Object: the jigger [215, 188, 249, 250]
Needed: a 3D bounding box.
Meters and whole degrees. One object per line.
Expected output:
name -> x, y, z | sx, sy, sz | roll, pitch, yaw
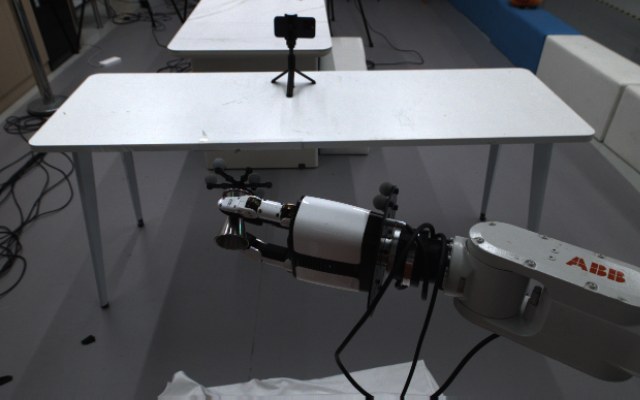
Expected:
jigger -> -0.109, 0.022, 0.619 | 0.043, 0.043, 0.071 | 2, 59, 0
